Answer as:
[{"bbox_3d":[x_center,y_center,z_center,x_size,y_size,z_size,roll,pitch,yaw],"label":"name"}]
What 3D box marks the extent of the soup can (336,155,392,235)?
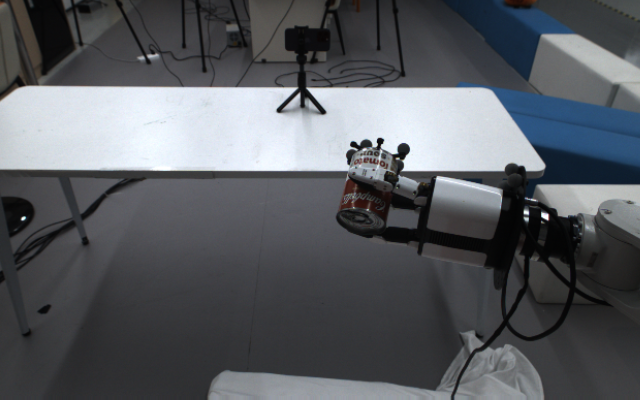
[{"bbox_3d":[0.067,-0.014,0.660,0.067,0.067,0.101,9,60,10],"label":"soup can"}]
